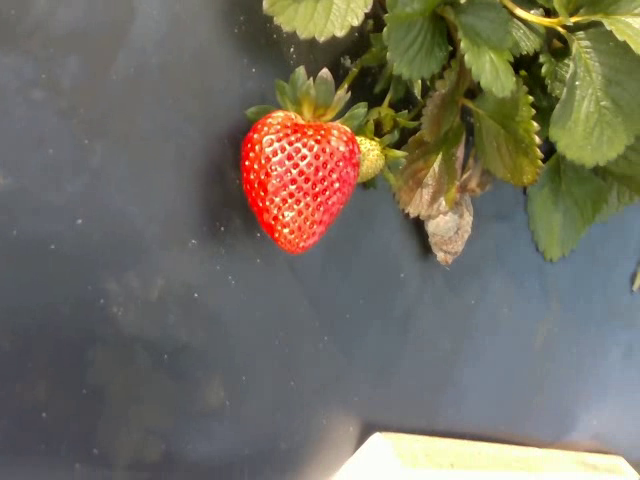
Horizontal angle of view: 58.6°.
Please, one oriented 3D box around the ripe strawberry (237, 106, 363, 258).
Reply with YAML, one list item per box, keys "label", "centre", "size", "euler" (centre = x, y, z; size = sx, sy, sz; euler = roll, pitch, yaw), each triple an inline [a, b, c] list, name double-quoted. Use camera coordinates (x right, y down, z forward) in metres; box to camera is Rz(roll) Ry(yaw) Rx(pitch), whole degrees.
- label: "ripe strawberry"
  centre: [-0.007, -0.019, 0.190]
  size: [0.050, 0.058, 0.045]
  euler: [-16, -31, 42]
